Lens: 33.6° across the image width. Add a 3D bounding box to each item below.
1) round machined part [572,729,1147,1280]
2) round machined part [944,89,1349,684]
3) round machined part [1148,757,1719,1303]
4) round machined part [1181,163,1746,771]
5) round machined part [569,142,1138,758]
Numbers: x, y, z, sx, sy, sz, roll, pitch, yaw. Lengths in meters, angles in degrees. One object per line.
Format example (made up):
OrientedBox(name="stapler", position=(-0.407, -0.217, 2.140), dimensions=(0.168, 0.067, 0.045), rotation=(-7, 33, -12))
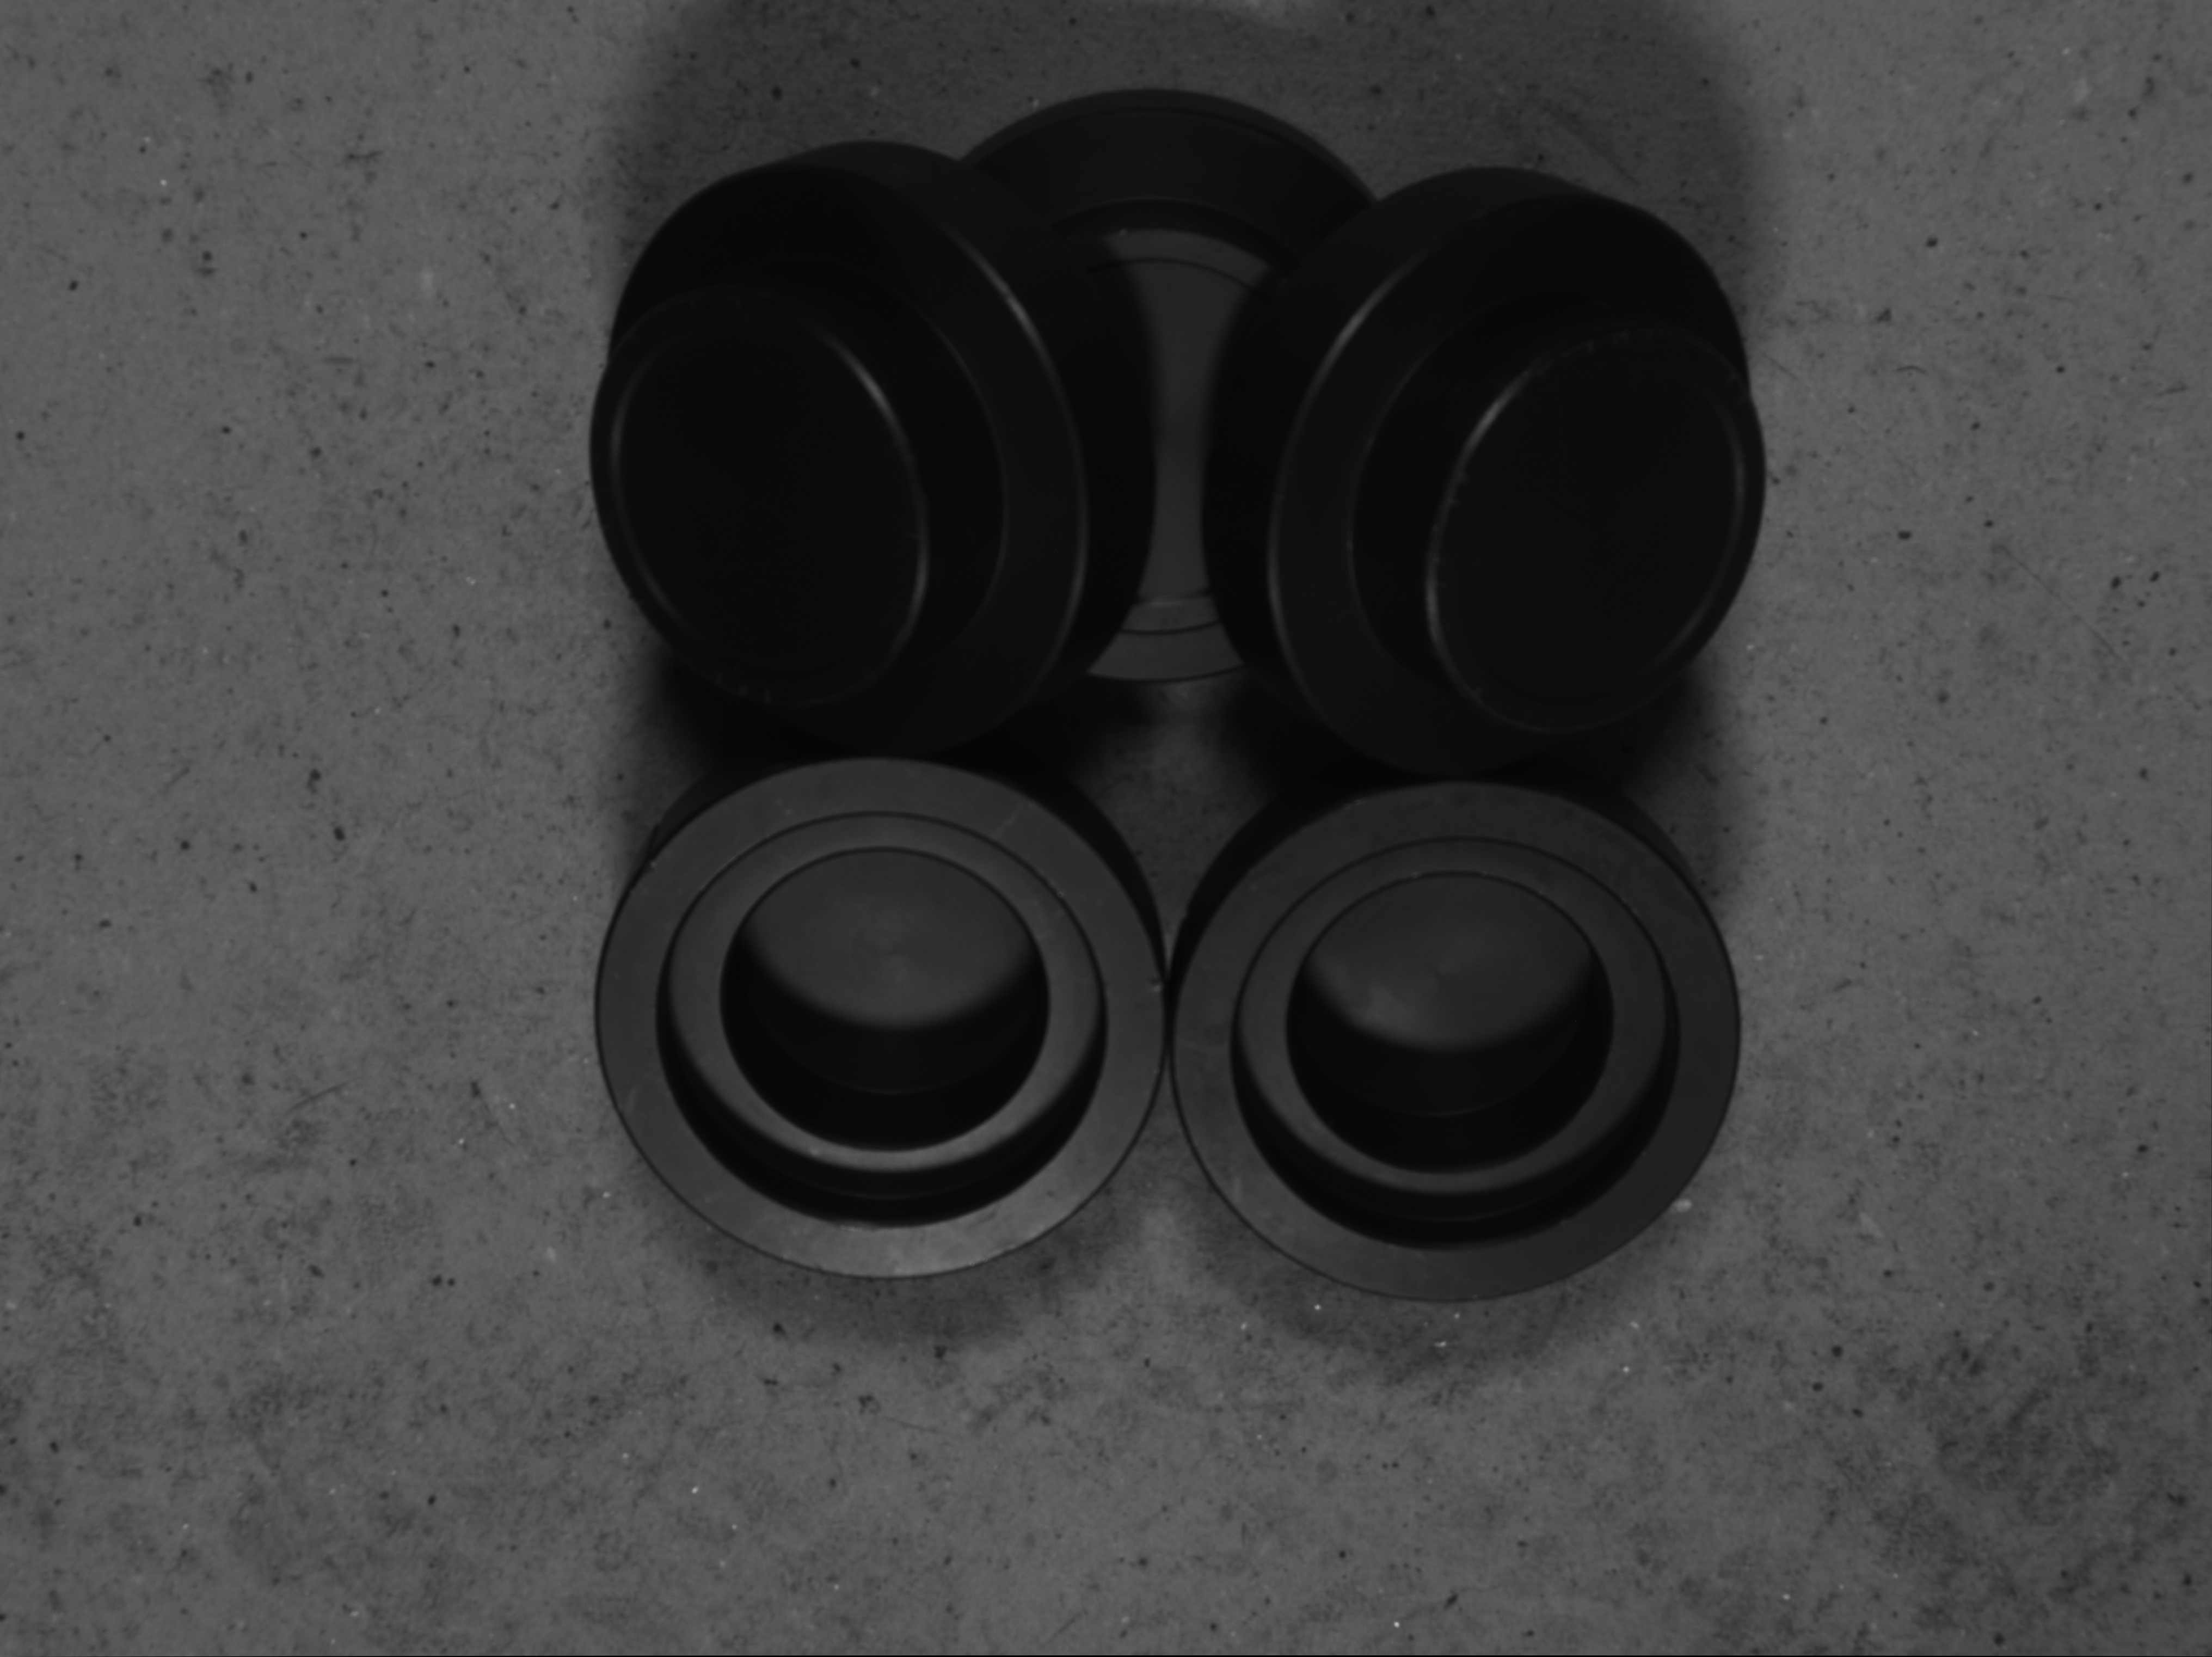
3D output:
OrientedBox(name="round machined part", position=(-0.042, 0.026, 0.643), dimensions=(0.098, 0.042, 0.098), rotation=(0, 110, -1))
OrientedBox(name="round machined part", position=(0.004, -0.070, 0.608), dimensions=(0.098, 0.042, 0.098), rotation=(0, 110, -1))
OrientedBox(name="round machined part", position=(0.056, 0.031, 0.646), dimensions=(0.098, 0.042, 0.098), rotation=(0, 110, -1))
OrientedBox(name="round machined part", position=(0.064, -0.054, 0.592), dimensions=(0.098, 0.042, 0.098), rotation=(-15, 120, -28))
OrientedBox(name="round machined part", position=(-0.047, -0.057, 0.587), dimensions=(0.098, 0.042, 0.098), rotation=(14, 117, 30))
